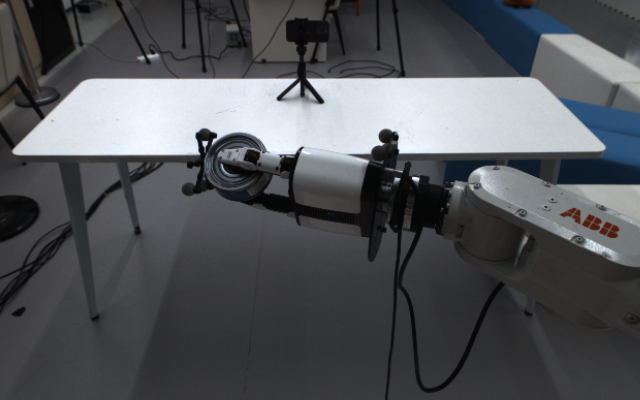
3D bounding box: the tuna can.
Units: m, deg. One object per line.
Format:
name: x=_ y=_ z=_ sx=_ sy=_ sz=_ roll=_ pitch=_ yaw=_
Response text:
tuna can: x=-0.104 y=-0.044 z=0.628 sx=0.085 sy=0.034 sz=0.085 roll=-2 pitch=69 yaw=7
